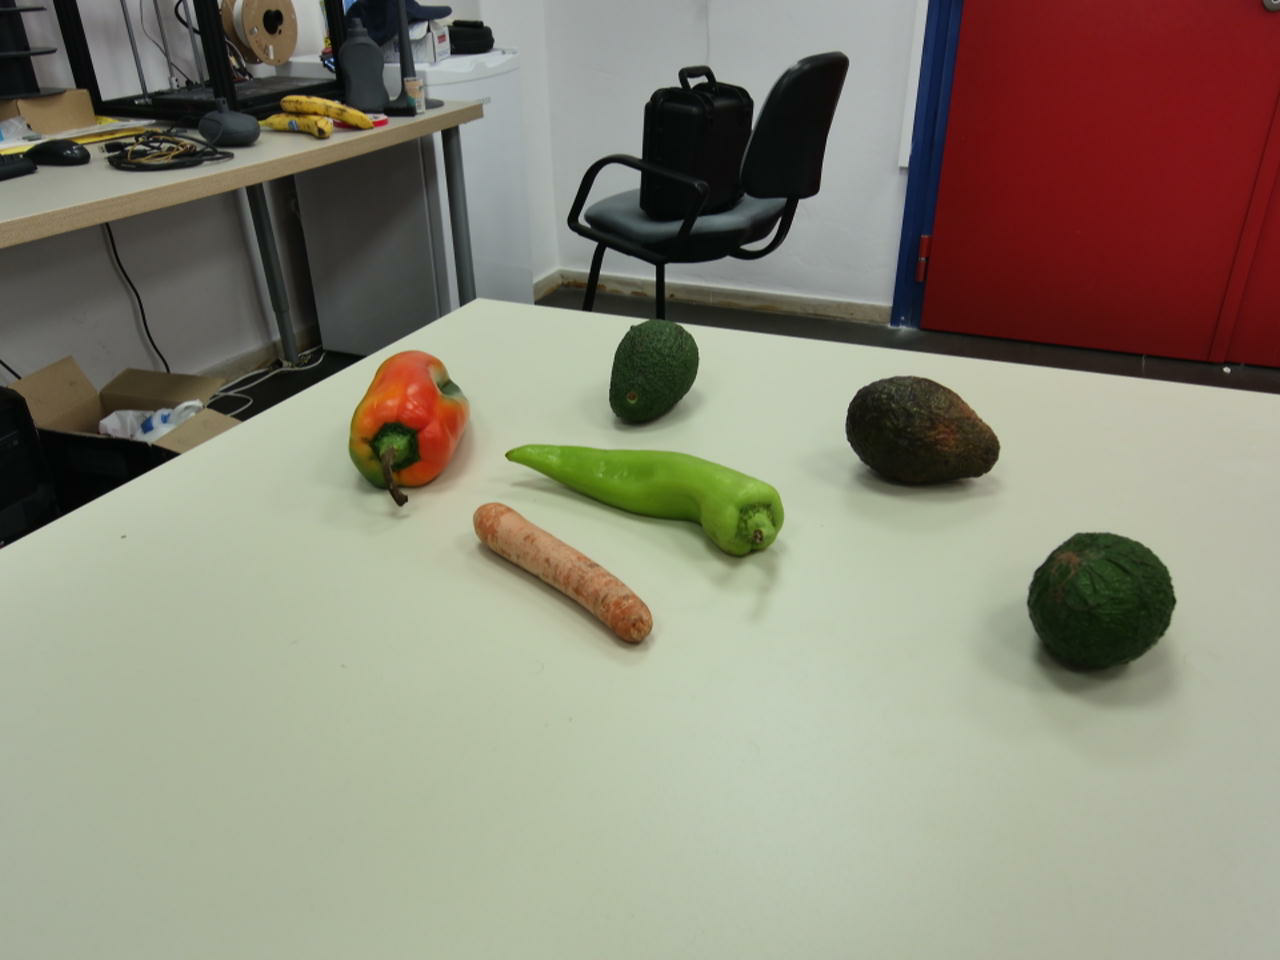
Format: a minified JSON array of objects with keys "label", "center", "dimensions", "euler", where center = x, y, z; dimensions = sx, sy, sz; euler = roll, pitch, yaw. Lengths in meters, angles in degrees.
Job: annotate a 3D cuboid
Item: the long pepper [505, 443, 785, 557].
[{"label":"long pepper","center":[0.010,0.003,0.617],"dimensions":[0.205,0.045,0.065],"euler":[20,32,36]}]
